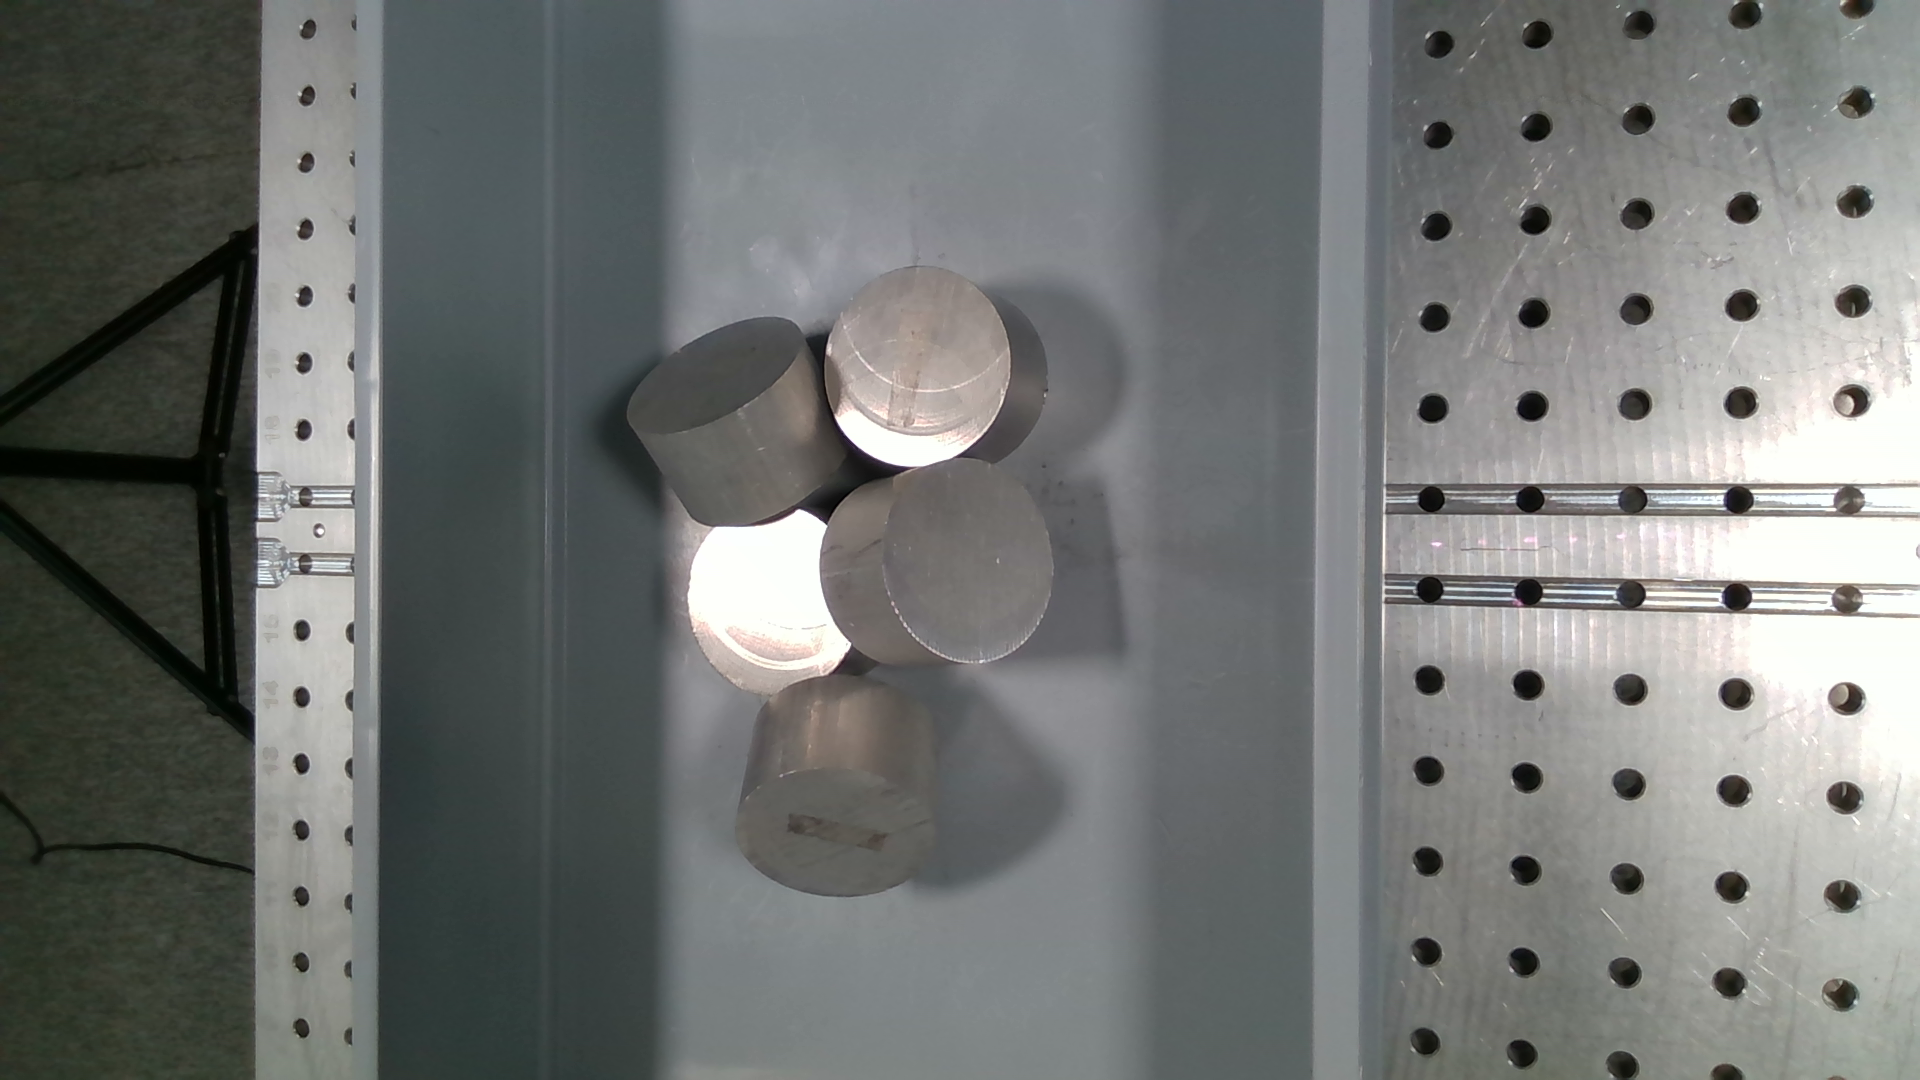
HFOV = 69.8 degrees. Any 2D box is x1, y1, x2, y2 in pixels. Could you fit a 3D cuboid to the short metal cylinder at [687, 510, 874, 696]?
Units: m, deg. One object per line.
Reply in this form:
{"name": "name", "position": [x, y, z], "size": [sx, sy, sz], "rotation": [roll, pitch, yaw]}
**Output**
{"name": "short metal cylinder", "position": [-0.070, 0.025, 0.597], "size": [0.080, 0.050, 0.080], "rotation": [0, 90, 20]}

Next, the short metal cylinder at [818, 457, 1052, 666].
{"name": "short metal cylinder", "position": [-0.010, 0.010, 0.551], "size": [0.050, 0.080, 0.080], "rotation": [-11, 86, 56]}

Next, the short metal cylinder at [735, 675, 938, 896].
{"name": "short metal cylinder", "position": [-0.049, 0.102, 0.568], "size": [0.080, 0.050, 0.080], "rotation": [1, 129, 1]}

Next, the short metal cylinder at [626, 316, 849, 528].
{"name": "short metal cylinder", "position": [-0.093, -0.050, 0.582], "size": [0.080, 0.080, 0.050], "rotation": [-12, 128, 20]}

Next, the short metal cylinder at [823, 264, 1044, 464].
{"name": "short metal cylinder", "position": [-0.010, -0.070, 0.573], "size": [0.080, 0.050, 0.080], "rotation": [0, 90, 20]}
